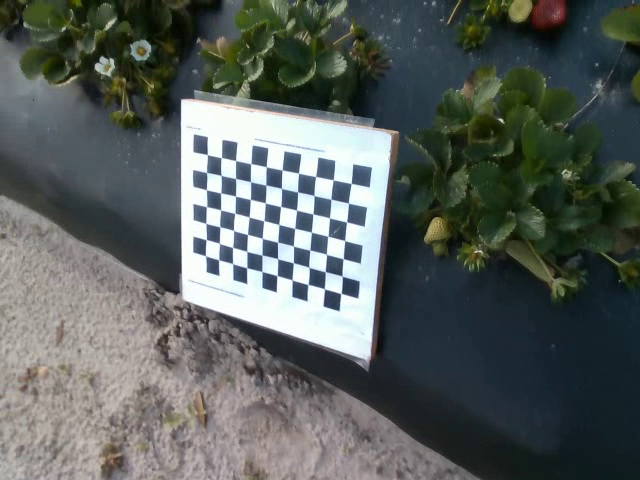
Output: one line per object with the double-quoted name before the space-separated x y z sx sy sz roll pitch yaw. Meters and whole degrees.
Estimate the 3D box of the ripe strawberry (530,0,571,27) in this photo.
"ripe strawberry" 0.302 -0.297 0.927 0.048 0.051 0.055 25 35 -18
